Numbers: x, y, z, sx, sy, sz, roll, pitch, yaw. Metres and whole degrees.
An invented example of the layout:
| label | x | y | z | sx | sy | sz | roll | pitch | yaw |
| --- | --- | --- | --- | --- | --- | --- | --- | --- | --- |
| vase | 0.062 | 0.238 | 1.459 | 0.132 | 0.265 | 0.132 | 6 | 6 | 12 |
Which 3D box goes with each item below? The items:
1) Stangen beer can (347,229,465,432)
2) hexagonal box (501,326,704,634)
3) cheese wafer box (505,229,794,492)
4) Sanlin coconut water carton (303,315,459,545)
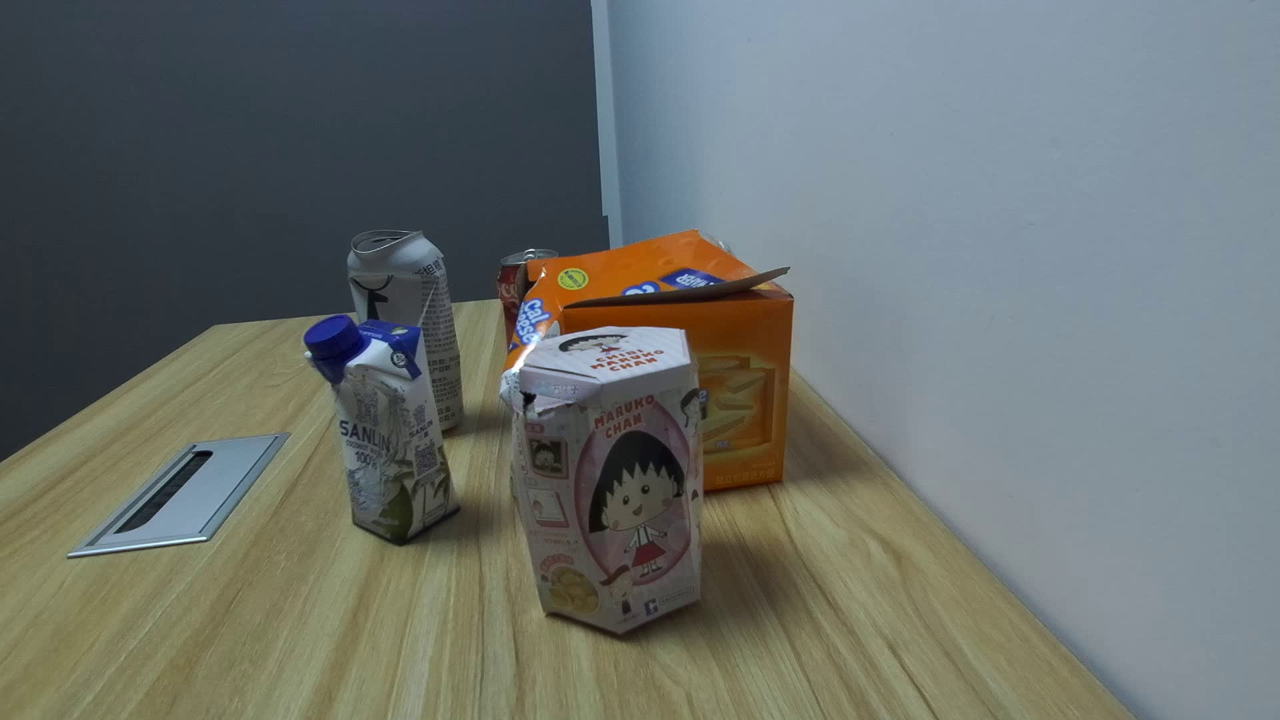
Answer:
| label | x | y | z | sx | sy | sz | roll | pitch | yaw |
| --- | --- | --- | --- | --- | --- | --- | --- | --- | --- |
| Stangen beer can | -0.187 | -0.019 | 0.565 | 0.077 | 0.162 | 0.065 | -10 | 17 | -14 |
| hexagonal box | -0.015 | 0.057 | 0.361 | 0.091 | 0.134 | 0.090 | -1 | 17 | 11 |
| cheese wafer box | -0.011 | -0.009 | 0.529 | 0.192 | 0.145 | 0.218 | -7 | 20 | -12 |
| Sanlin coconut water carton | -0.158 | 0.039 | 0.433 | 0.077 | 0.142 | 0.058 | 10 | 29 | 34 |
